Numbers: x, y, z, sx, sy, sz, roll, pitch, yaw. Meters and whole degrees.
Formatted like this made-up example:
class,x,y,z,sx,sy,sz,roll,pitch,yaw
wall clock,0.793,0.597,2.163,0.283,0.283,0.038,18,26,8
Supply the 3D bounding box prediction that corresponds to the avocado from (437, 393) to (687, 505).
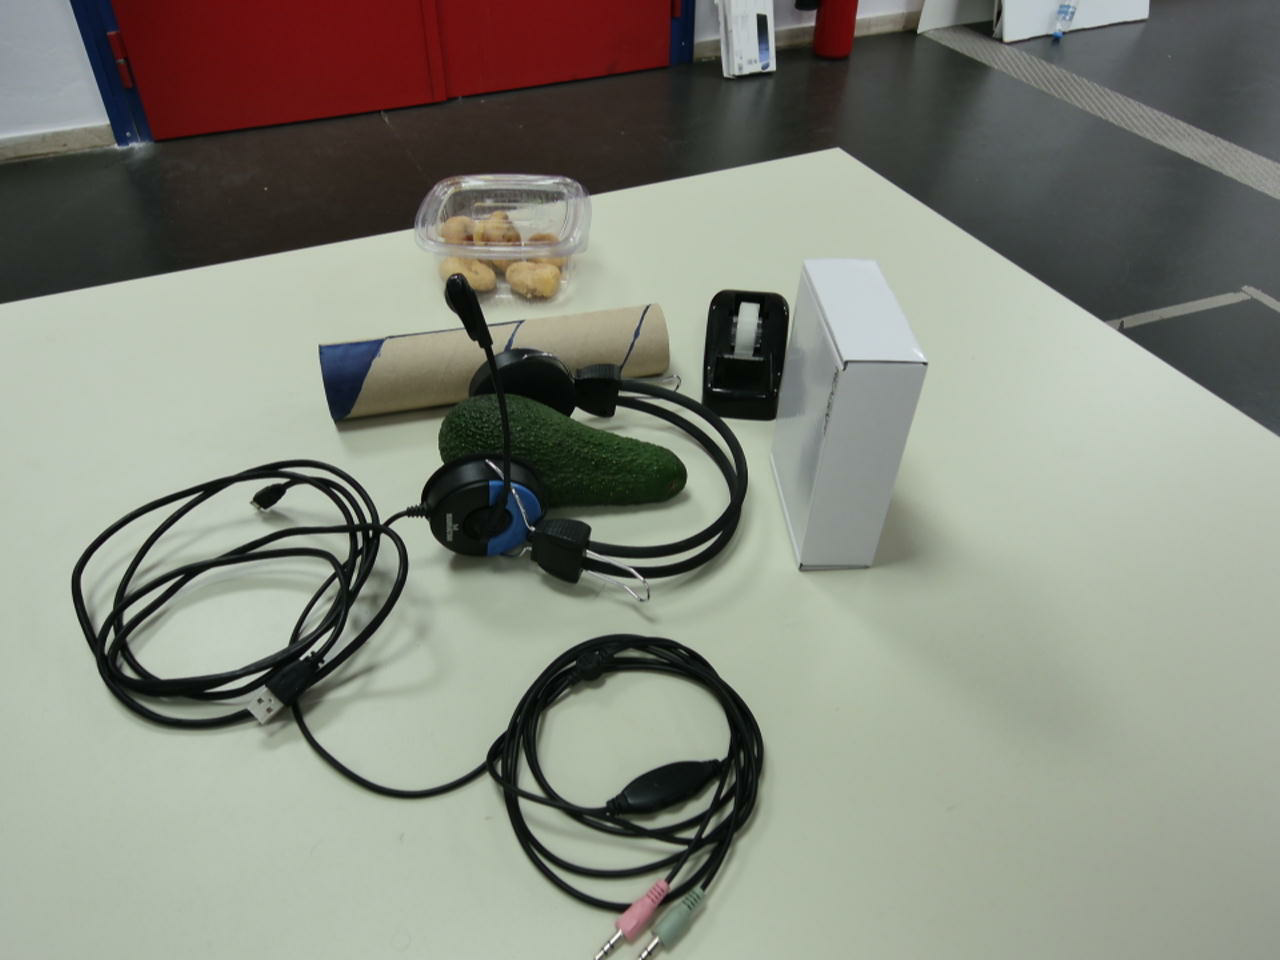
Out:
class,x,y,z,sx,sy,sz,roll,pitch,yaw
avocado,-0.044,-0.021,0.573,0.141,0.067,0.063,-5,39,-8
